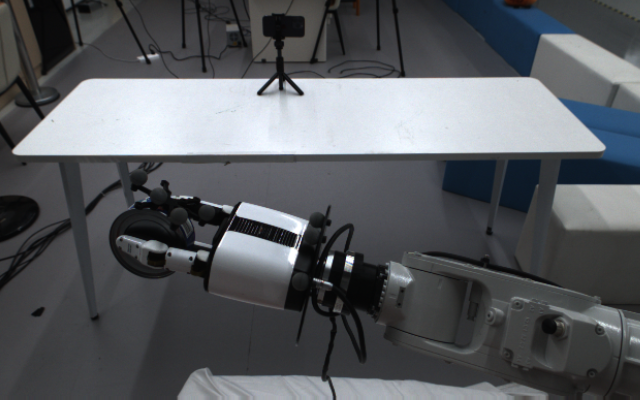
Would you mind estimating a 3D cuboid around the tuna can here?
[{"bbox_3d":[-0.183,0.043,0.537,0.085,0.085,0.034,4,20,3],"label":"tuna can"}]
